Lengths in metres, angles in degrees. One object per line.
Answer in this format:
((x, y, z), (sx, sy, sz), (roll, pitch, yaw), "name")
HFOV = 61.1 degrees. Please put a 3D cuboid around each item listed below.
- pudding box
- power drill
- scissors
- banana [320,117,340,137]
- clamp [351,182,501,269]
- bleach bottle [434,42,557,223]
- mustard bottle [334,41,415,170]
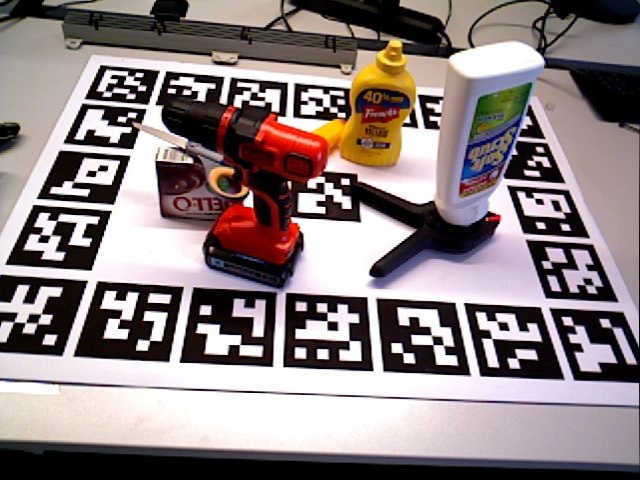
((-0.163, -0.079, 0.703), (0.113, 0.092, 0.038), (8, 42, -2), "pudding box")
((-0.095, -0.062, 0.595), (0.184, 0.191, 0.056), (13, 42, 6), "power drill")
((-0.163, -0.128, 0.658), (0.202, 0.016, 0.086), (27, 55, 8), "scissors")
((-0.033, -0.168, 0.824), (0.193, 0.039, 0.074), (-29, 42, -28), "banana")
((0.147, -0.031, 0.723), (0.201, 0.037, 0.163), (0, 52, -10), "clamp")
((0.195, -0.109, 0.655), (0.101, 0.256, 0.067), (-14, 49, -11), "bleach bottle")
((0.082, -0.192, 0.773), (0.096, 0.196, 0.057), (16, 48, 4), "mustard bottle")
